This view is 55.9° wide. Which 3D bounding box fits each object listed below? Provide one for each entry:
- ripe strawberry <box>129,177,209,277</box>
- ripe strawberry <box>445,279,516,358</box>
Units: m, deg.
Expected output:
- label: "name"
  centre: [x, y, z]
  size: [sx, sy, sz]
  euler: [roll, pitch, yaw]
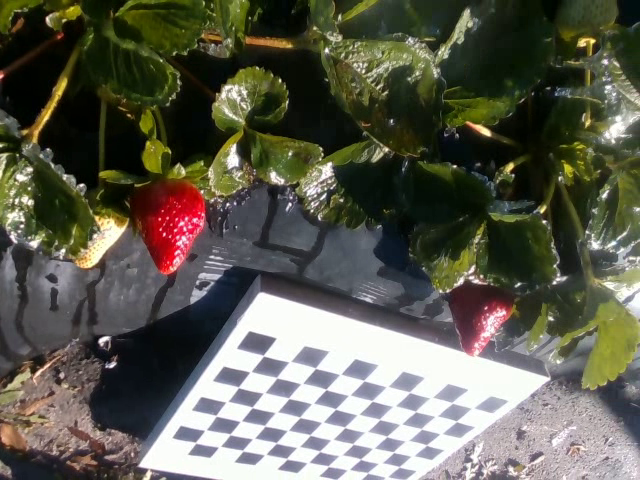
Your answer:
- label: "ripe strawberry"
  centre: [-0.089, -0.005, 0.358]
  size: [0.042, 0.061, 0.046]
  euler: [8, 0, -14]
- label: "ripe strawberry"
  centre: [0.116, 0.060, 0.436]
  size: [0.048, 0.061, 0.044]
  euler: [14, 8, -19]
